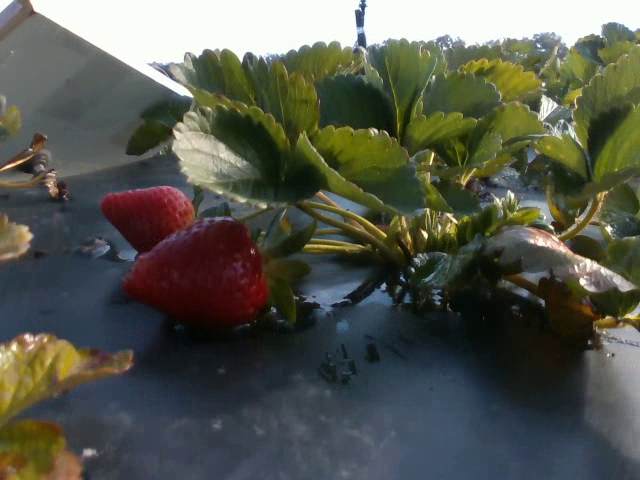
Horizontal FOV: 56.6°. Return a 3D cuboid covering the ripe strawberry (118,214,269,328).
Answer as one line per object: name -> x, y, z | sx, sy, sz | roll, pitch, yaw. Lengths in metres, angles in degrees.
ripe strawberry -> -0.053, 0.012, 0.237 | 0.064, 0.050, 0.049 | -20, -17, -34
